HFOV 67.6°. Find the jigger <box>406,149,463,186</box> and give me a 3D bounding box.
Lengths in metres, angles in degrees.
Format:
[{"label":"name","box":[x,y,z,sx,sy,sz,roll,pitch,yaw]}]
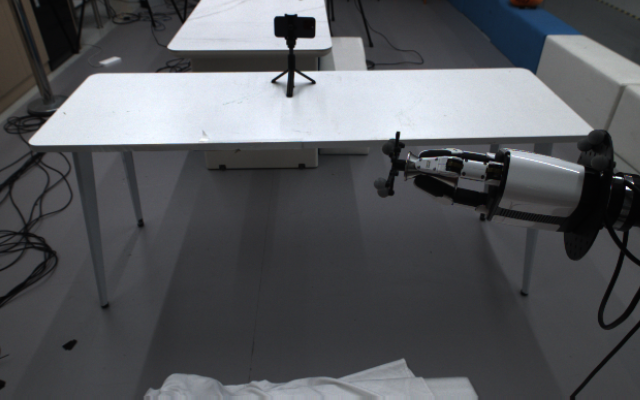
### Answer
[{"label":"jigger","box":[0.154,-0.043,0.635,0.071,0.043,0.043,10,35,15]}]
